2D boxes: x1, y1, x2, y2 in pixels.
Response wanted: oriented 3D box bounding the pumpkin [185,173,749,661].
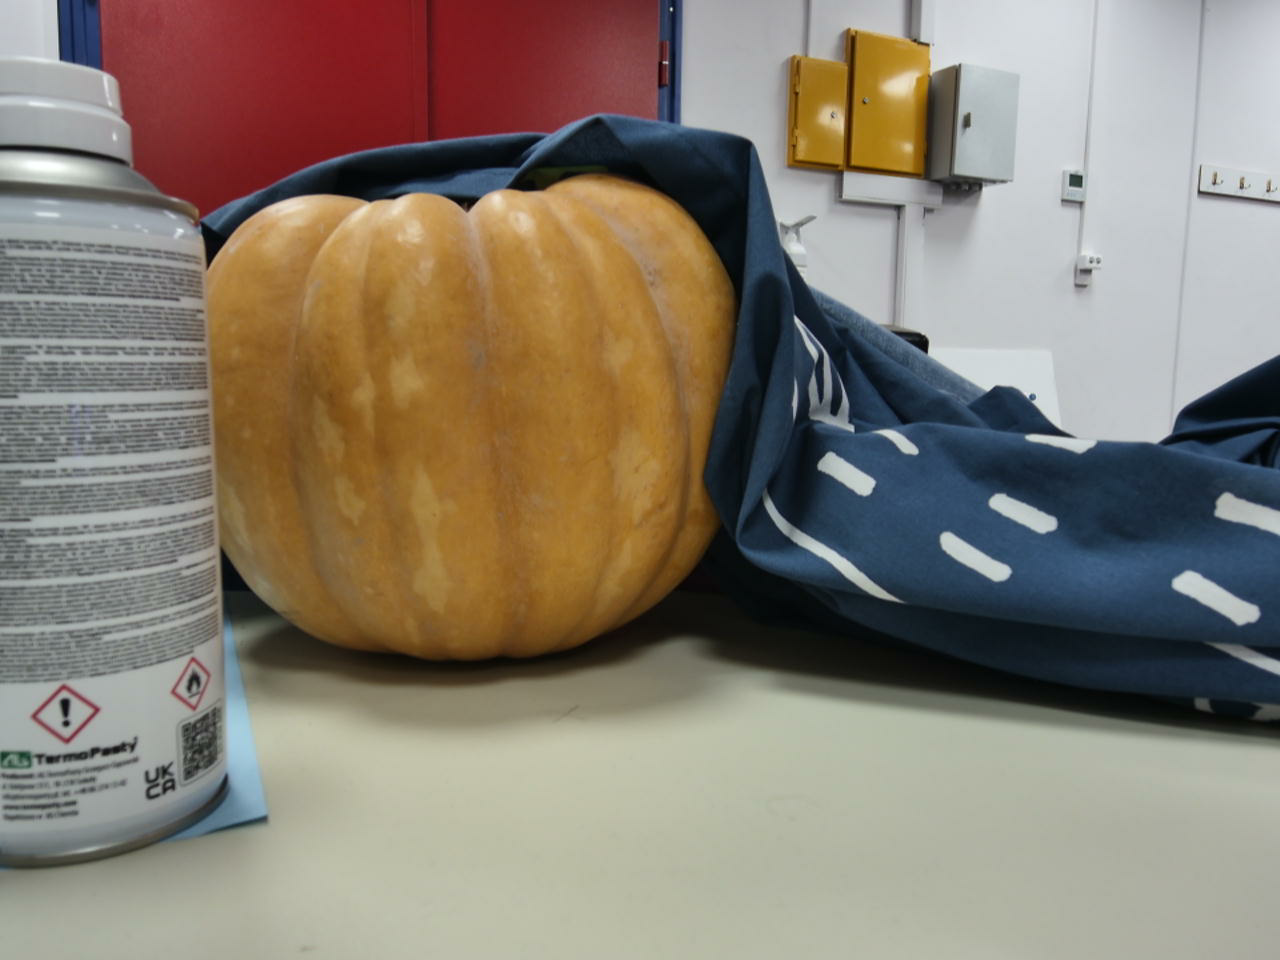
[{"bbox_3d":[-0.065,-0.026,0.417,0.230,0.194,0.230,0,4,0],"label":"pumpkin"}]
